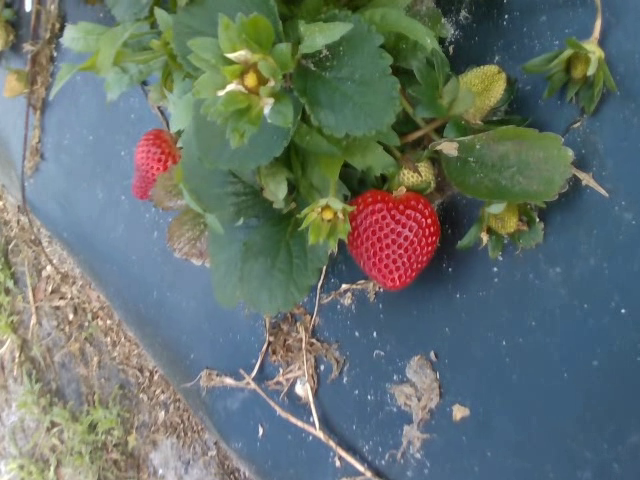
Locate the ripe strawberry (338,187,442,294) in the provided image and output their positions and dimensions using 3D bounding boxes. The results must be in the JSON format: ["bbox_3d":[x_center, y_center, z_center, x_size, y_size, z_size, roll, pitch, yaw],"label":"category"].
[{"bbox_3d":[0.029,0.002,0.280,0.046,0.046,0.043,8,-32,-25],"label":"ripe strawberry"}]

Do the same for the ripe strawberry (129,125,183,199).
[{"bbox_3d":[-0.094,-0.043,0.376,0.043,0.051,0.042,47,23,23],"label":"ripe strawberry"}]
